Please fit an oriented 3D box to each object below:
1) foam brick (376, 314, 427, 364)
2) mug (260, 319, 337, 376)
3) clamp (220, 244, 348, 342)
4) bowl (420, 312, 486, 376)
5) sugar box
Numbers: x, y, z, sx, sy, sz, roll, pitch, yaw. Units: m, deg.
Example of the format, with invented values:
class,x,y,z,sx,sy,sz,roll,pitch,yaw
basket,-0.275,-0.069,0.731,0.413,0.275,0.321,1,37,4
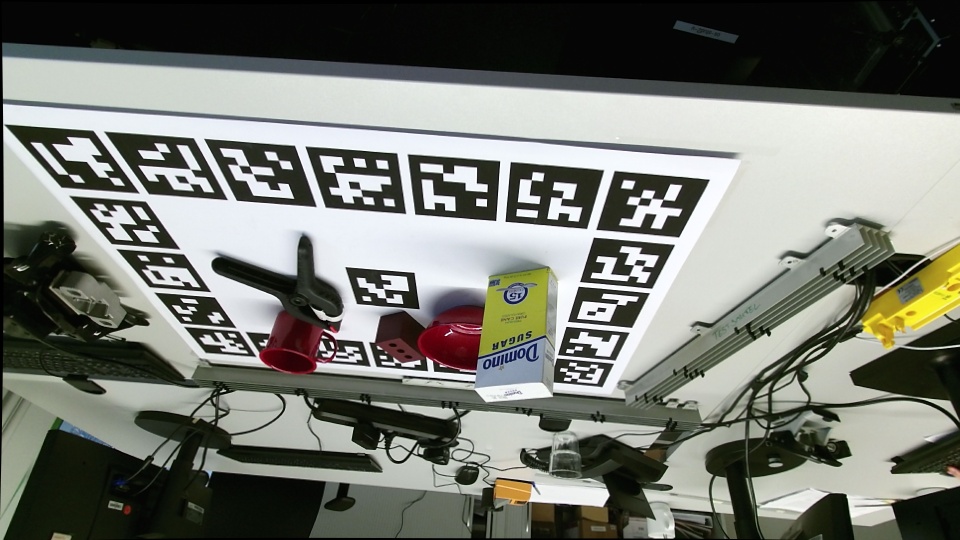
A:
class,x,y,z,sx,sy,sz,roll,pitch,yaw
foam brick,-0.128,0.118,0.892,0.053,0.051,0.078,-15,135,23
mug,-0.300,0.140,0.905,0.117,0.081,0.093,23,138,-15
clamp,-0.265,0.048,0.816,0.166,0.036,0.203,-13,137,19
bowl,-0.012,0.116,0.860,0.162,0.055,0.162,4,141,4
sugar box,0.058,0.083,0.716,0.093,0.175,0.045,-12,136,23
